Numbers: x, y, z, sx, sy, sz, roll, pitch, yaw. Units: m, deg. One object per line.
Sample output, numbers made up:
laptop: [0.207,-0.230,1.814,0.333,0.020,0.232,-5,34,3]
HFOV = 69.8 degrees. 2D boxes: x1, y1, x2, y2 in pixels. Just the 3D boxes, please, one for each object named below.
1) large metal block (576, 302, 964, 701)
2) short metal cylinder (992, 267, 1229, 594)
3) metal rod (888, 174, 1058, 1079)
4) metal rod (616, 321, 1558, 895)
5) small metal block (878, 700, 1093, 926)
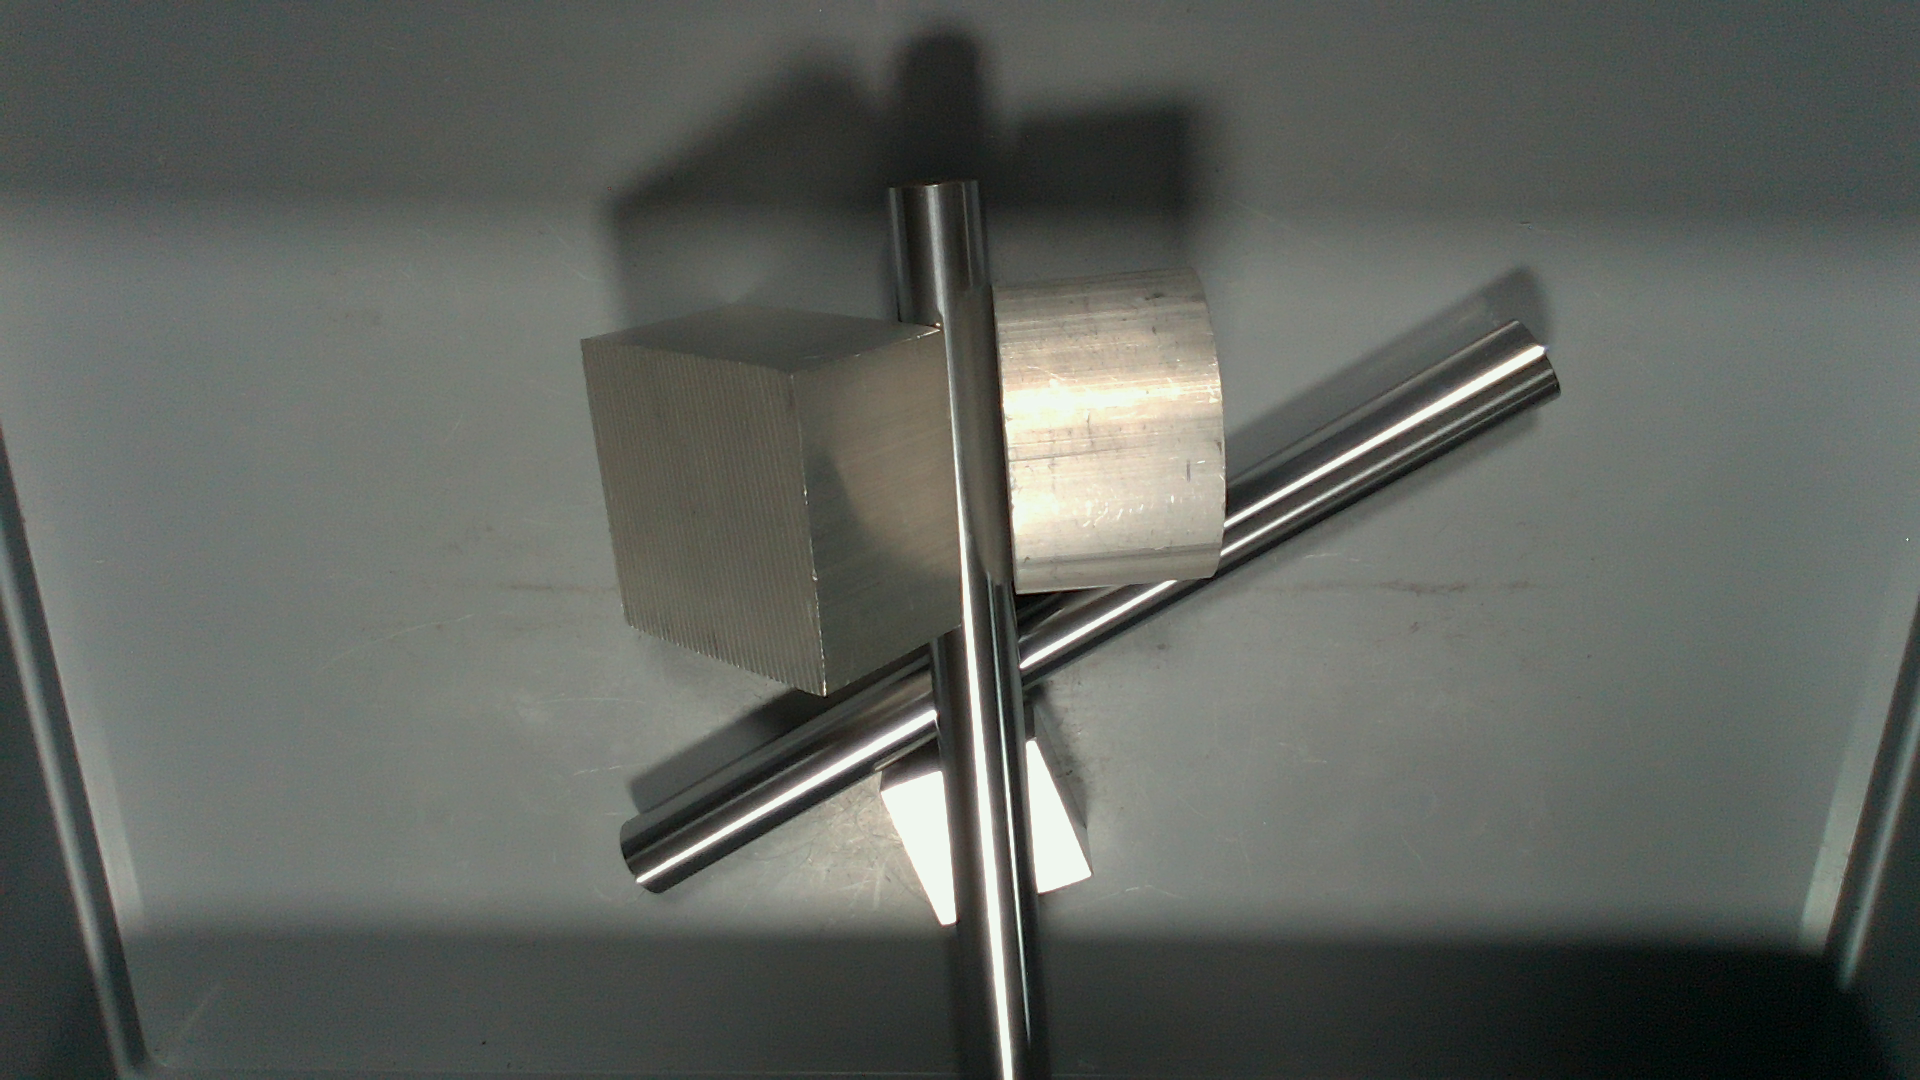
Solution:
large metal block: [-0.048,-0.014,0.353,0.080,0.050,0.080,13,116,39]
short metal cylinder: [0.036,-0.028,0.353,0.050,0.080,0.080,-5,110,0]
metal rod: [0.008,0.053,0.385,0.025,0.025,0.300,-5,109,2]
metal rod: [0.028,0.025,0.401,0.300,0.025,0.025,-30,107,10]
small metal block: [0.008,0.084,0.424,0.050,0.025,0.050,-20,109,7]
